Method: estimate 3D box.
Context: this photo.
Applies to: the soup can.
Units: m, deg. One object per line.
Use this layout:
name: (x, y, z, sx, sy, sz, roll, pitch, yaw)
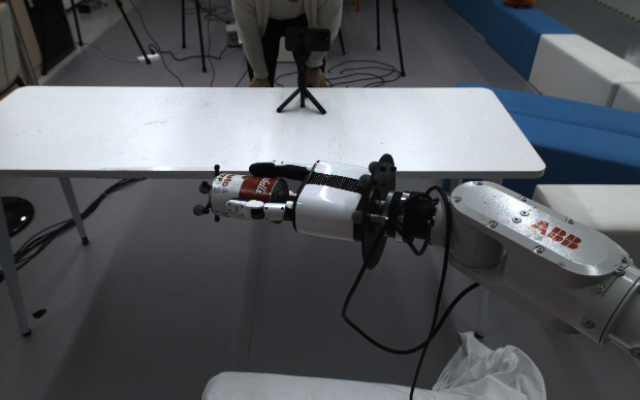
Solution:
soup can: (-0.105, -0.002, 0.725, 0.101, 0.067, 0.067, 6, 34, 18)
